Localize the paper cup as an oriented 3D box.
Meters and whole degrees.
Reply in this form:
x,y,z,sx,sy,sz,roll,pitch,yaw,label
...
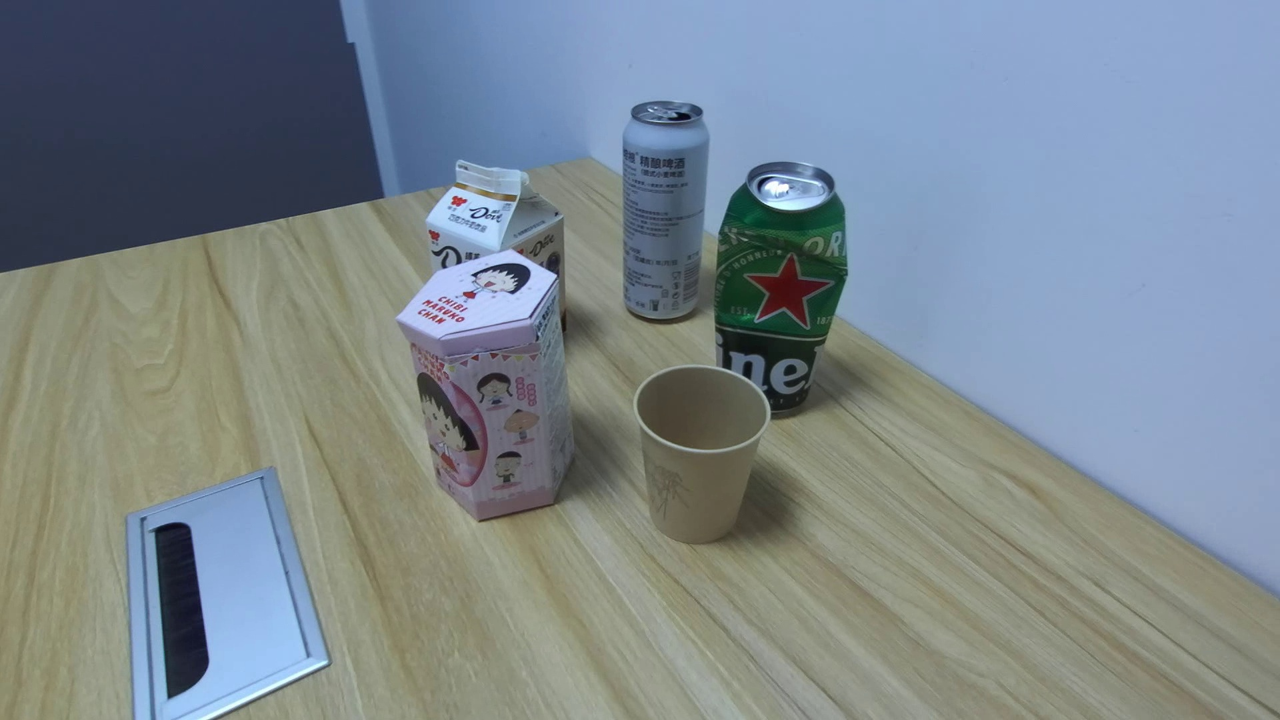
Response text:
x,y,z,sx,sy,sz,roll,pitch,yaw,label
0.033,0.058,0.404,0.075,0.082,0.075,1,37,0,paper cup

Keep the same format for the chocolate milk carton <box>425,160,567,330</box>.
x,y,z,sx,sy,sz,roll,pitch,yaw,label
-0.106,-0.078,0.535,0.075,0.148,0.074,23,42,26,chocolate milk carton

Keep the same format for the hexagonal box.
x,y,z,sx,sy,sz,roll,pitch,yaw,label
-0.084,0.016,0.418,0.085,0.135,0.091,-30,46,-34,hexagonal box

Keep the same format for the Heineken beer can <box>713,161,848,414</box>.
x,y,z,sx,sy,sz,roll,pitch,yaw,label
0.090,-0.041,0.469,0.069,0.168,0.068,-24,44,-27,Heineken beer can

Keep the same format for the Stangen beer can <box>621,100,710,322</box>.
x,y,z,sx,sy,sz,roll,pitch,yaw,label
0.020,-0.115,0.569,0.067,0.171,0.067,0,35,0,Stangen beer can
